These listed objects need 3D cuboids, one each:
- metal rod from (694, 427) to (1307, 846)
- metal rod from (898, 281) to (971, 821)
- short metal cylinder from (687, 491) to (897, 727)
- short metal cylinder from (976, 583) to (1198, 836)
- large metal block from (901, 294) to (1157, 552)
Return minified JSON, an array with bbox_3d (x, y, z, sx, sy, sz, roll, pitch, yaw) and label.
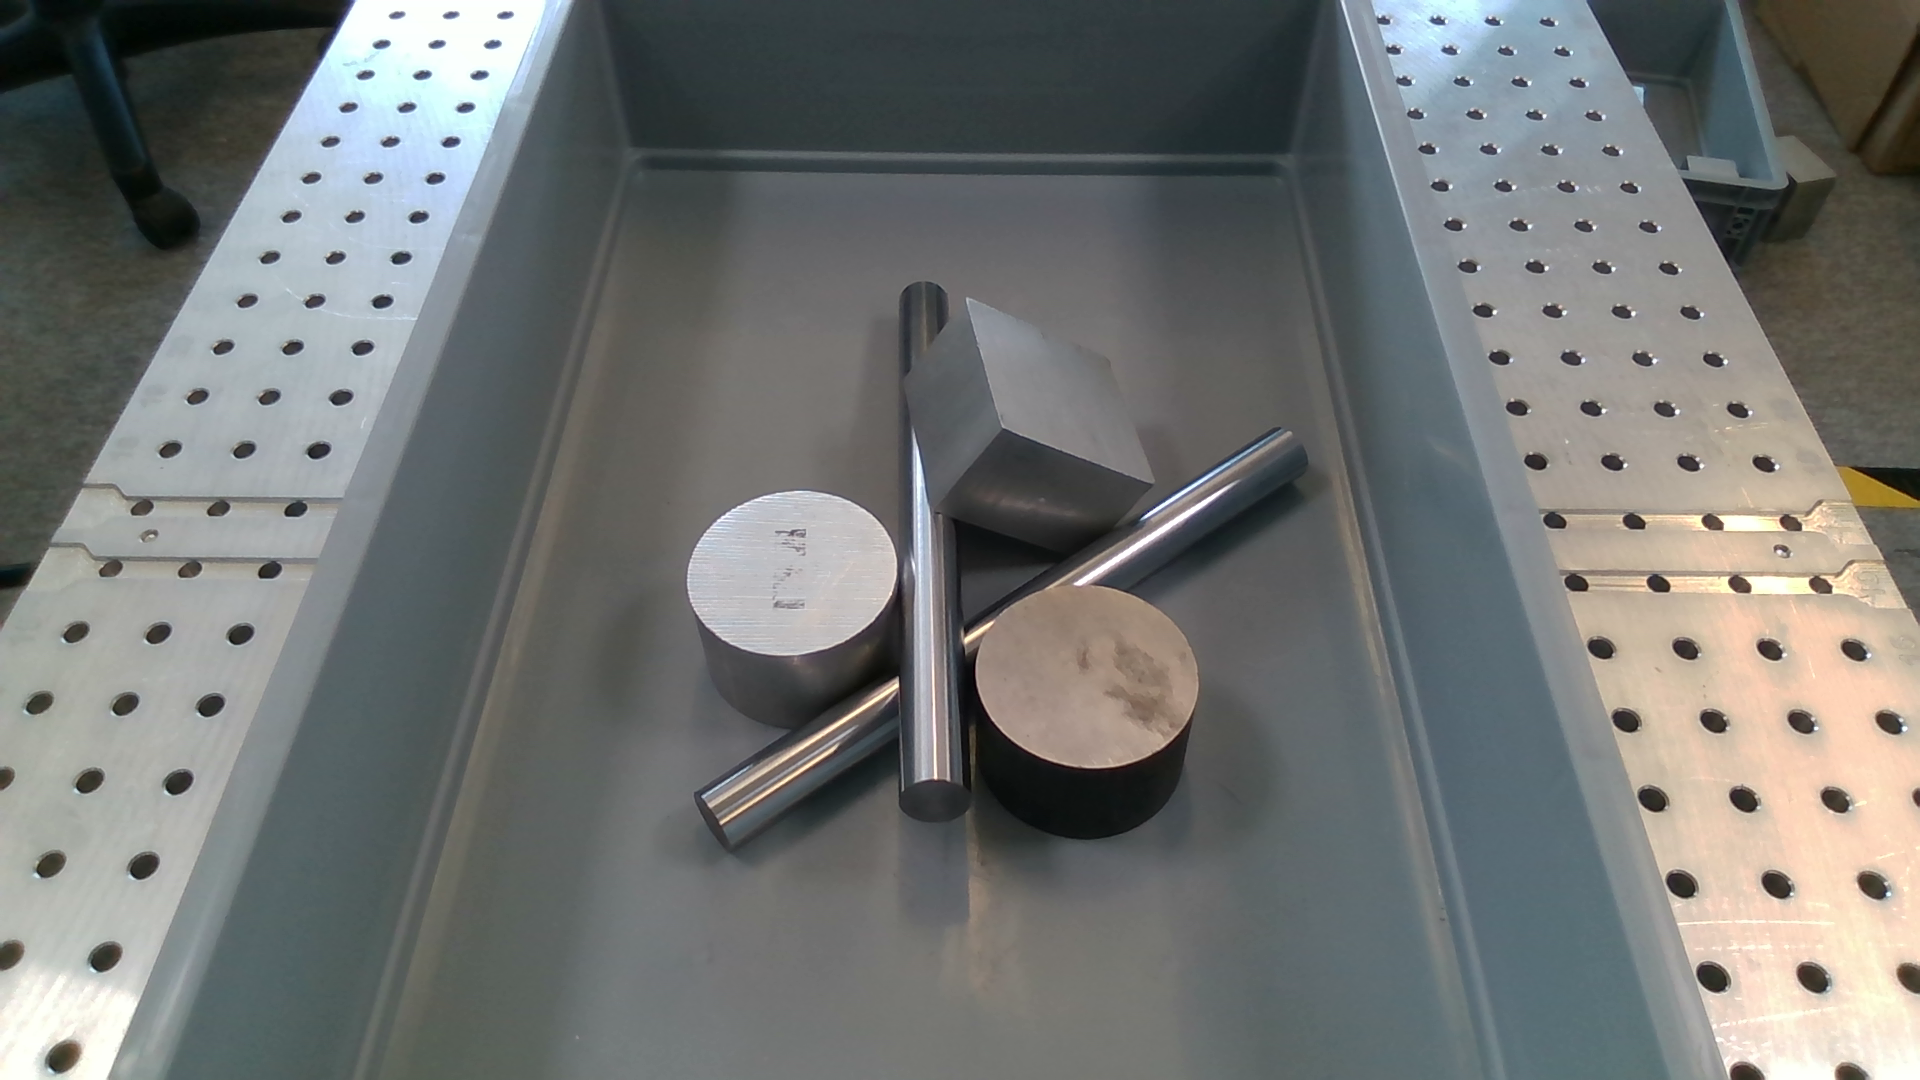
[{"bbox_3d":[0.028,0.031,0.560,0.300,0.025,0.025,-31,57,-23],"label":"metal rod"},{"bbox_3d":[-0.014,-0.015,0.576,0.025,0.025,0.299,-2,44,-1],"label":"metal rod"},{"bbox_3d":[-0.064,0.027,0.547,0.080,0.050,0.080,0,50,0],"label":"short metal cylinder"},{"bbox_3d":[0.046,0.063,0.517,0.080,0.050,0.080,0,50,0],"label":"short metal cylinder"},{"bbox_3d":[0.028,-0.048,0.585,0.080,0.050,0.080,18,41,-32],"label":"large metal block"}]
